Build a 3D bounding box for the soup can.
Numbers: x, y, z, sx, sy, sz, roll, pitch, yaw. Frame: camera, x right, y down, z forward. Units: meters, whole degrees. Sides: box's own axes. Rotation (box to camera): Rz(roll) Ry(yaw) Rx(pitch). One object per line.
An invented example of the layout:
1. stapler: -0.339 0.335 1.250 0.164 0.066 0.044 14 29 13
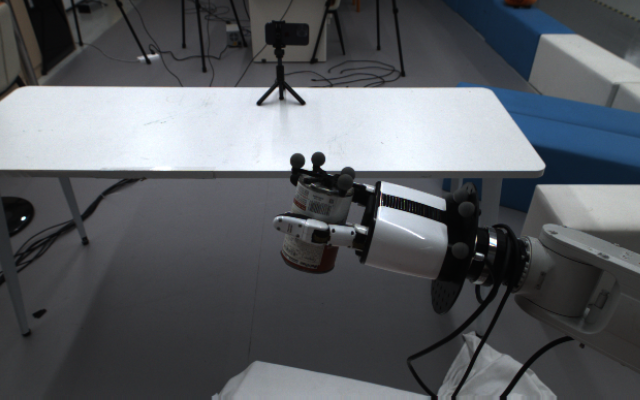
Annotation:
1. soup can: -0.002 0.027 0.573 0.067 0.101 0.067 13 18 -4
